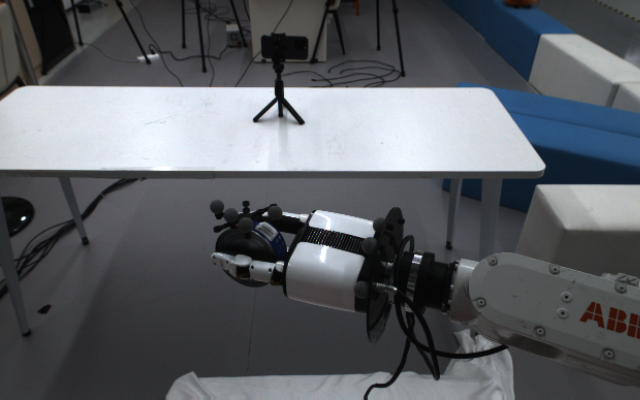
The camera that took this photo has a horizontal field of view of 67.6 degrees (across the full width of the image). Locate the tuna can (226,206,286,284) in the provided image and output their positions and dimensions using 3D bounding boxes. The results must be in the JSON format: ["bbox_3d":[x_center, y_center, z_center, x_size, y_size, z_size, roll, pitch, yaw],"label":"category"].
[{"bbox_3d":[-0.083,0.064,0.606,0.085,0.085,0.034,14,29,16],"label":"tuna can"}]
